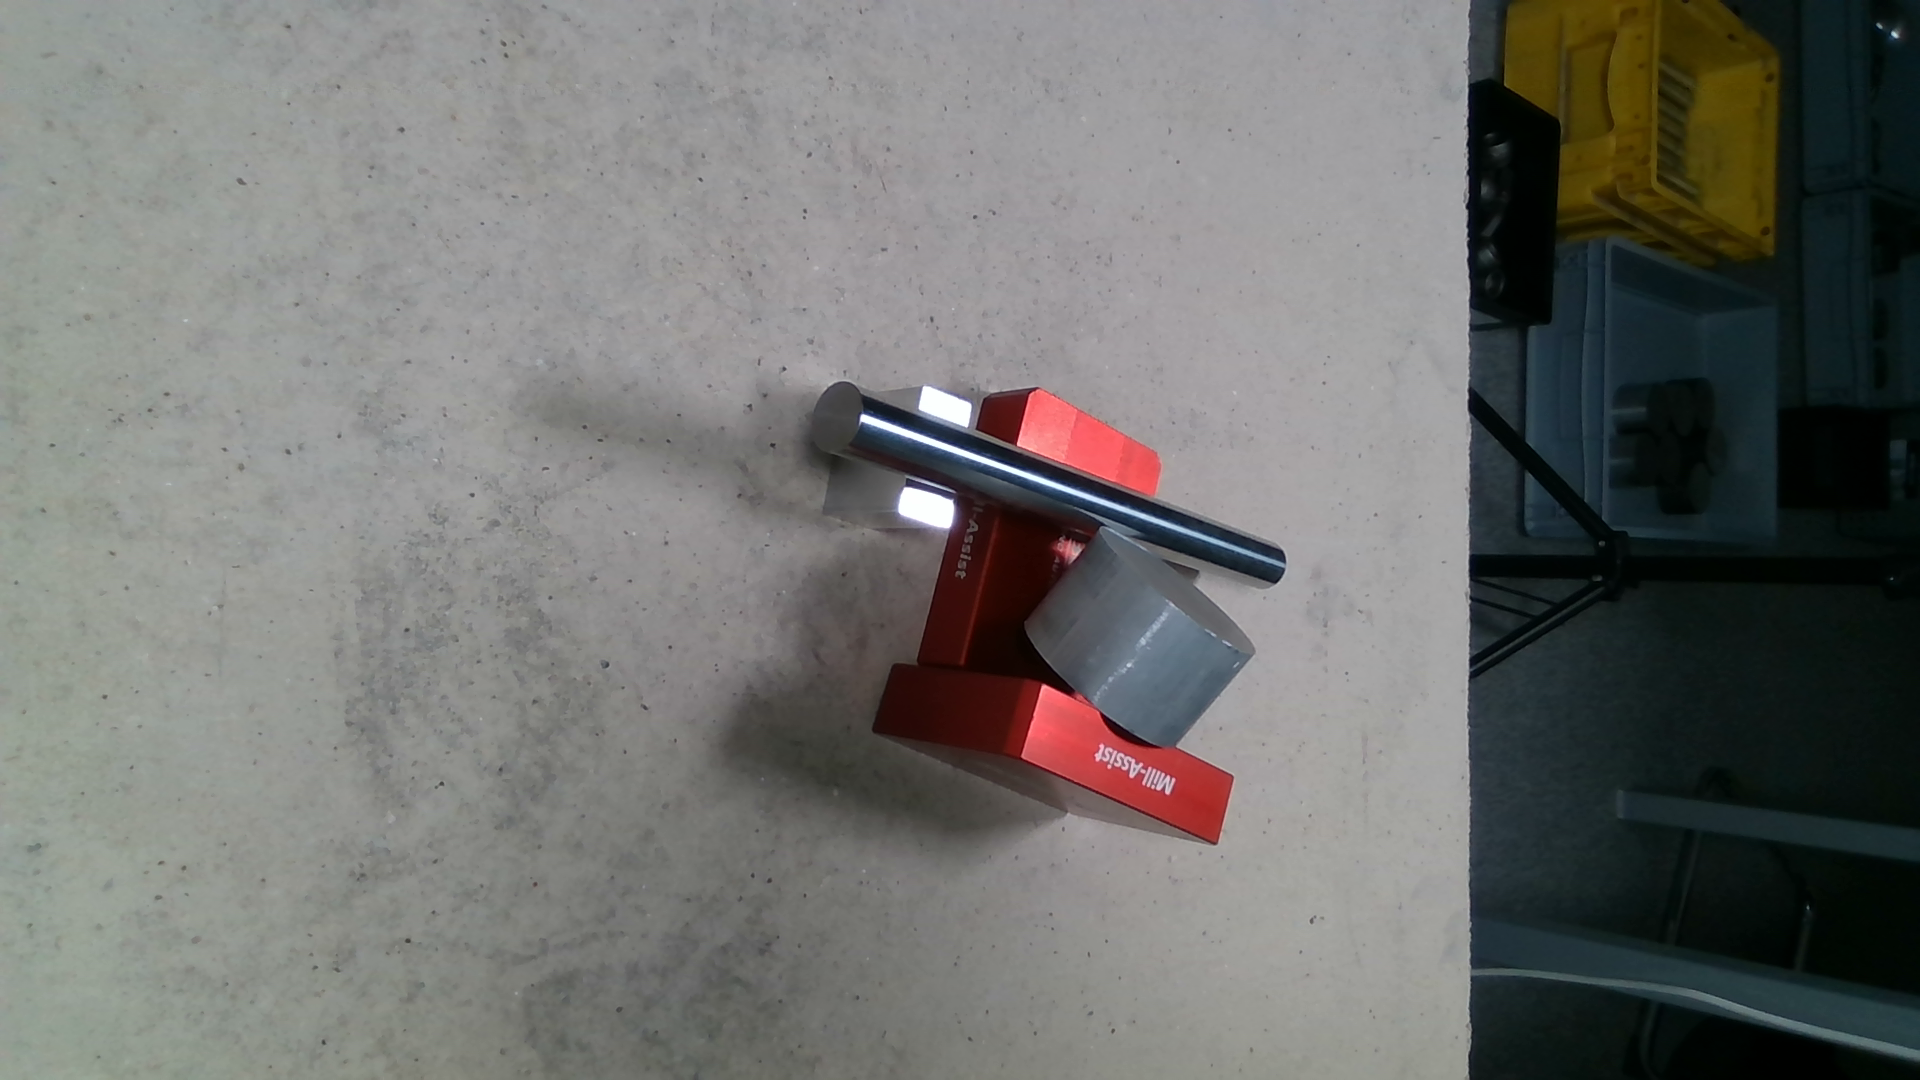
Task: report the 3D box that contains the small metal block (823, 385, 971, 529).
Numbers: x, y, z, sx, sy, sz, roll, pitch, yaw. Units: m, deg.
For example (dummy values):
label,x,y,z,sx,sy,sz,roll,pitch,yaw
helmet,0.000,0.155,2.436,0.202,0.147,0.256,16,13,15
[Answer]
label,x,y,z,sx,sy,sz,roll,pitch,yaw
small metal block,-0.025,-0.032,0.545,0.025,0.050,0.050,16,80,-39

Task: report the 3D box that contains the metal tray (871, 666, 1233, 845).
label,x,y,z,sx,sy,sz,roll,pitch,yaw
metal tray,0.040,0.090,0.574,0.130,0.090,0.030,29,72,-37

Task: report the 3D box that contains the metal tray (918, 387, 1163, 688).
label,x,y,z,sx,sy,sz,roll,pitch,yaw
metal tray,0.038,0.009,0.612,0.090,0.030,0.130,23,75,-38

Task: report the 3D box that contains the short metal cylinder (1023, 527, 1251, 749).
label,x,y,z,sx,sy,sz,roll,pitch,yaw
short metal cylinder,0.073,0.039,0.561,0.080,0.080,0.050,29,104,-36

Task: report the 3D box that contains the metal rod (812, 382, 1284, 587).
label,x,y,z,sx,sy,sz,roll,pitch,yaw
metal rod,0.055,-0.014,0.579,0.300,0.025,0.025,16,80,-48
